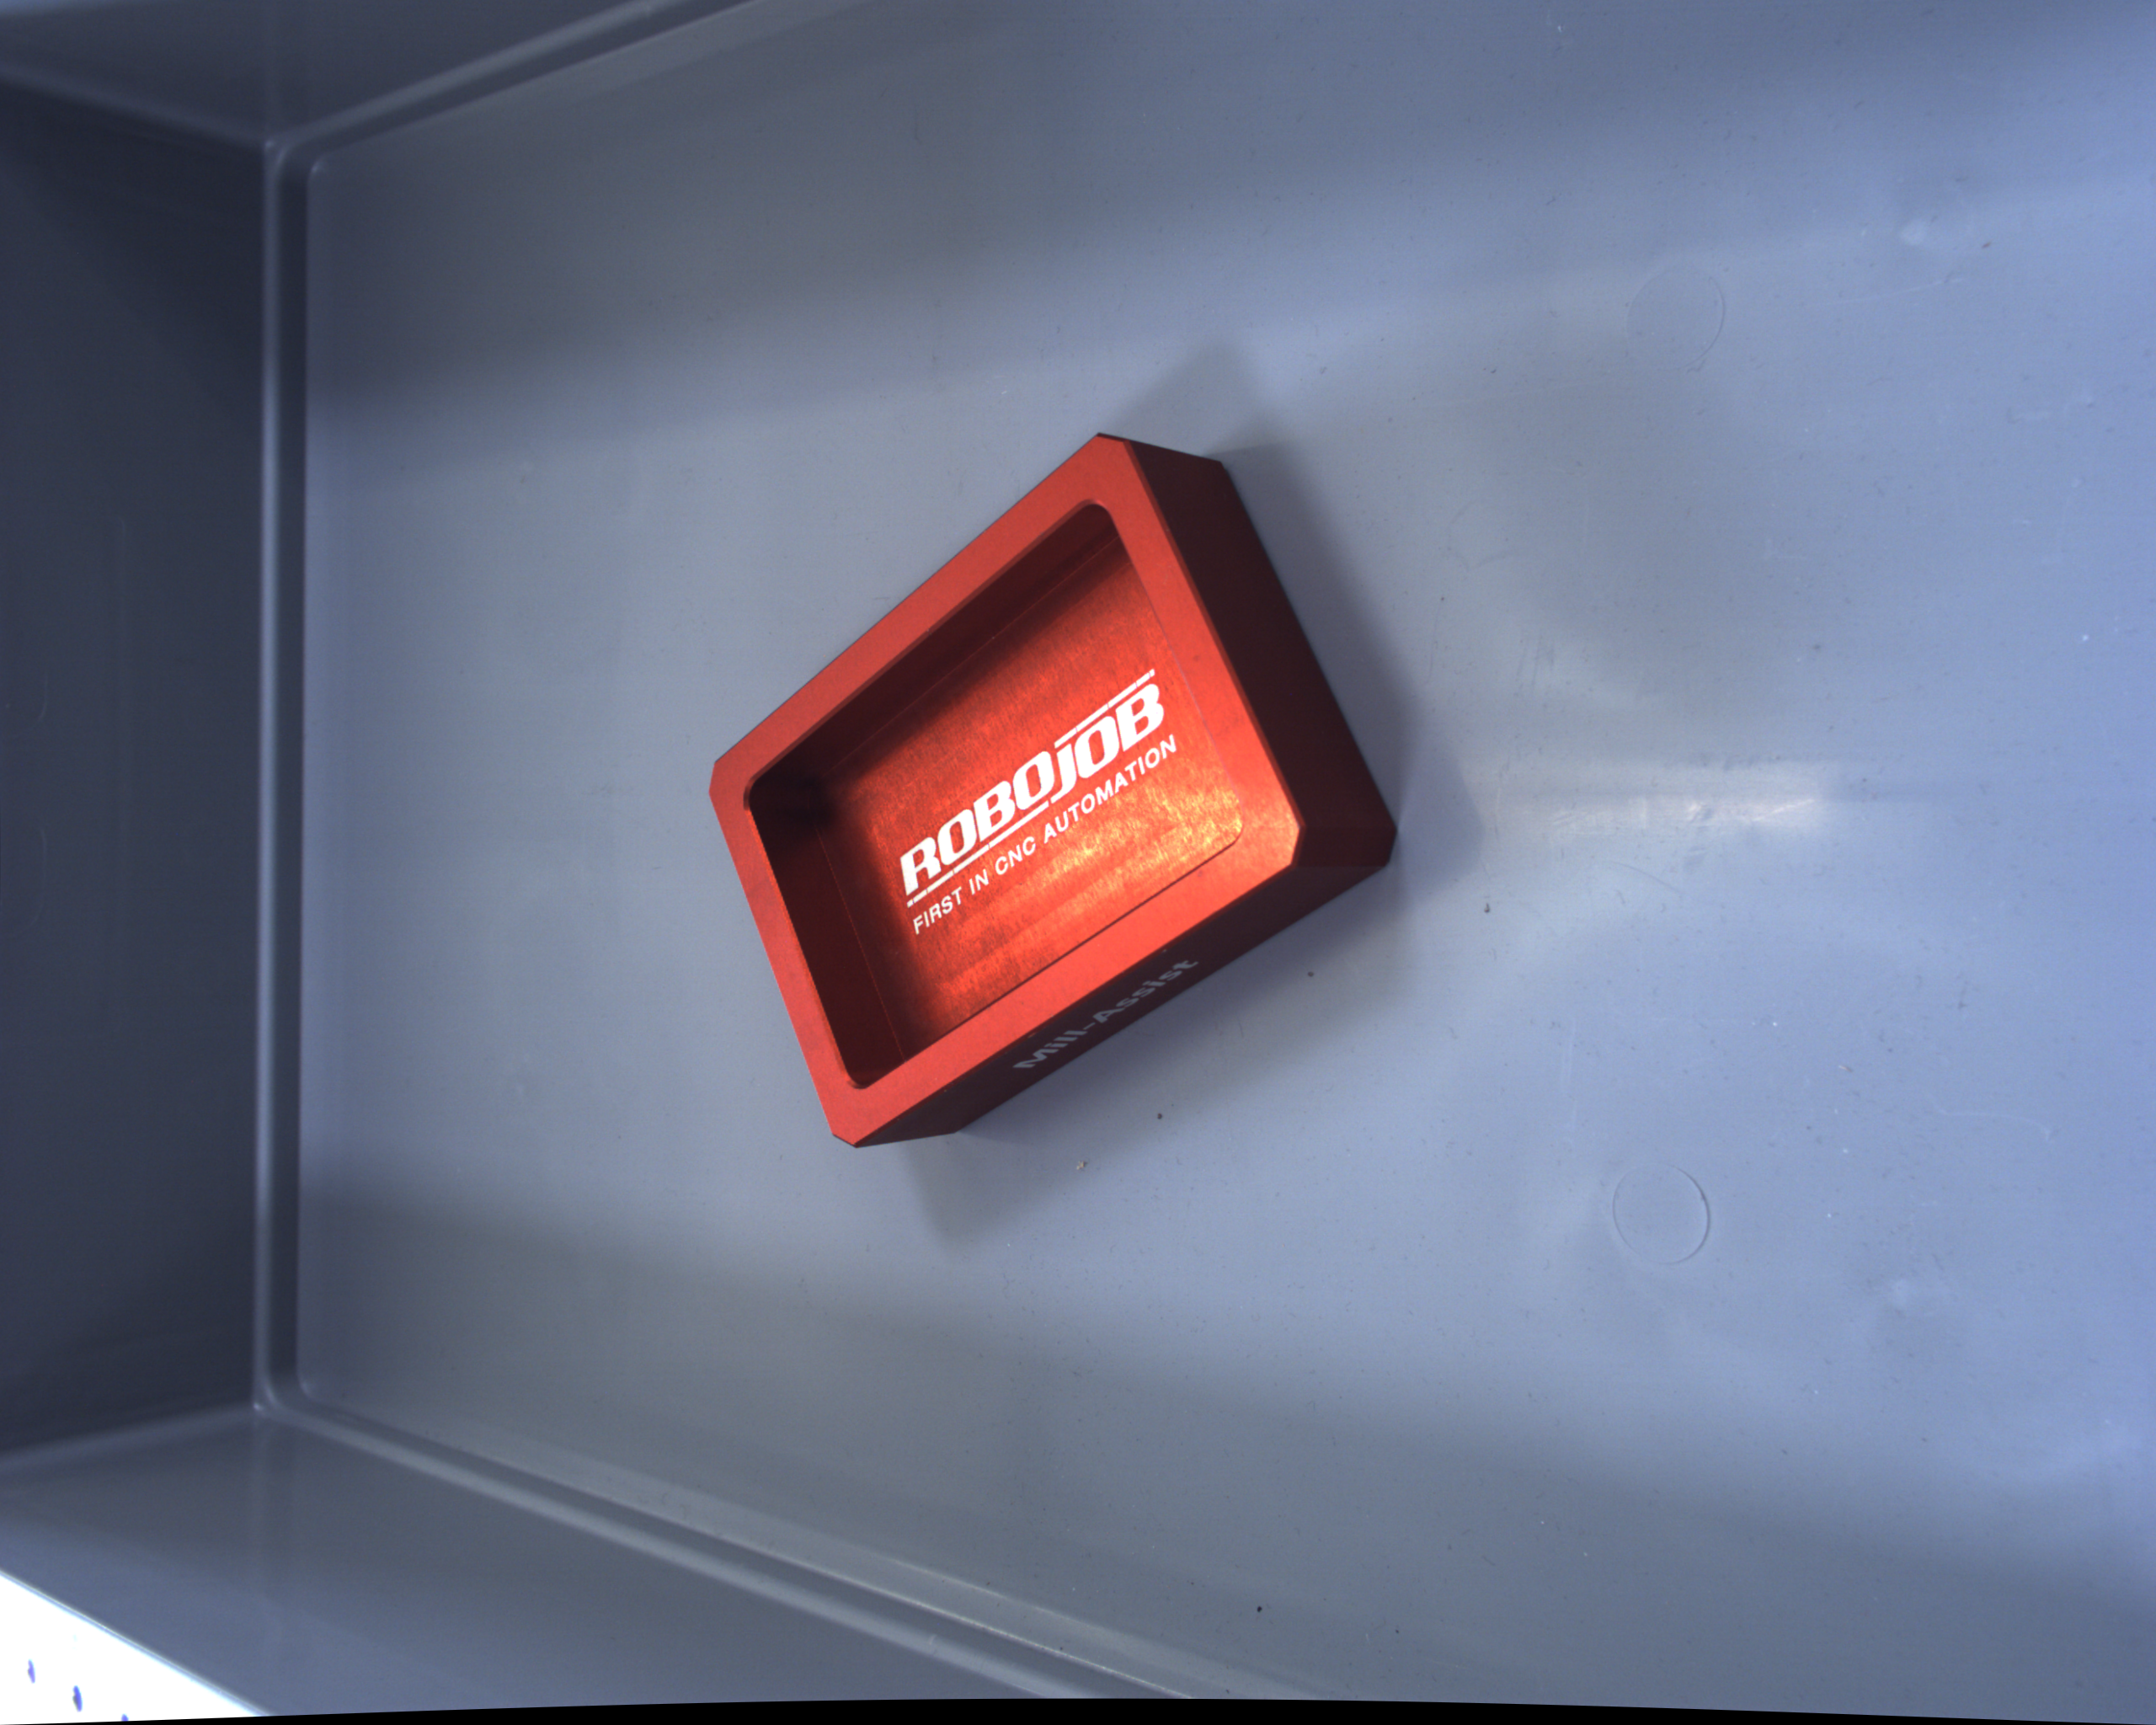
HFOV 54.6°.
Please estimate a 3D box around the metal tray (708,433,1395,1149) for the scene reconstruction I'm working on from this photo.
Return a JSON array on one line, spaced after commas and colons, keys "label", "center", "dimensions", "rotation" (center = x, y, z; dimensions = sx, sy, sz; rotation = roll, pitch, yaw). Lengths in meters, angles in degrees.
[{"label": "metal tray", "center": [-0.011, -0.010, 0.410], "dimensions": [0.130, 0.030, 0.090], "rotation": [-35, 69, 34]}]
